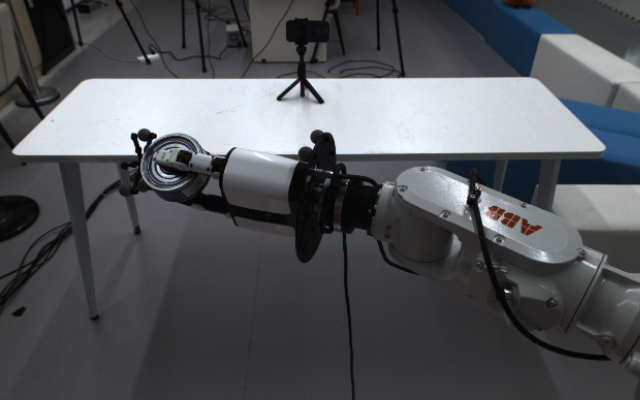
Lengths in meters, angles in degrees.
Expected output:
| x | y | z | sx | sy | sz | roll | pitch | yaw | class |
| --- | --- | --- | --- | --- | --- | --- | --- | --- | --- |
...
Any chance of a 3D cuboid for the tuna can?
| x | y | z | sx | sy | sz | roll | pitch | yaw | class |
| --- | --- | --- | --- | --- | --- | --- | --- | --- | --- |
| -0.184 | -0.039 | 0.623 | 0.085 | 0.034 | 0.085 | -2 | 70 | 6 | tuna can |
